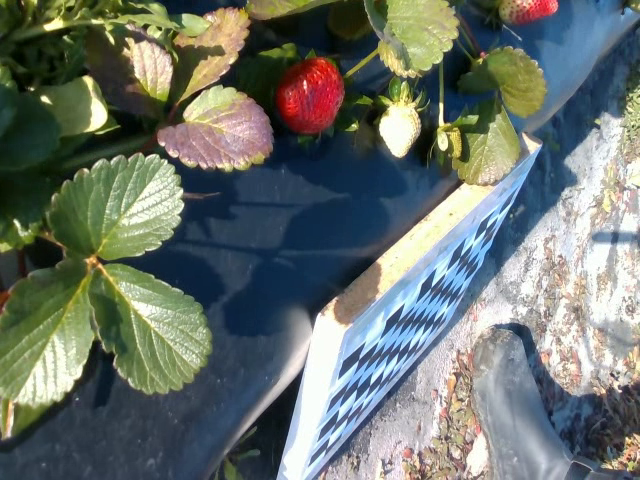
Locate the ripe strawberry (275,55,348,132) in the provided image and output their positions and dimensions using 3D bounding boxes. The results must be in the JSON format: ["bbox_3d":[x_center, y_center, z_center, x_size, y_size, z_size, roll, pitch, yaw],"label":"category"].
[{"bbox_3d":[-0.007,-0.064,0.265,0.036,0.044,0.053,34,22,14],"label":"ripe strawberry"}]
